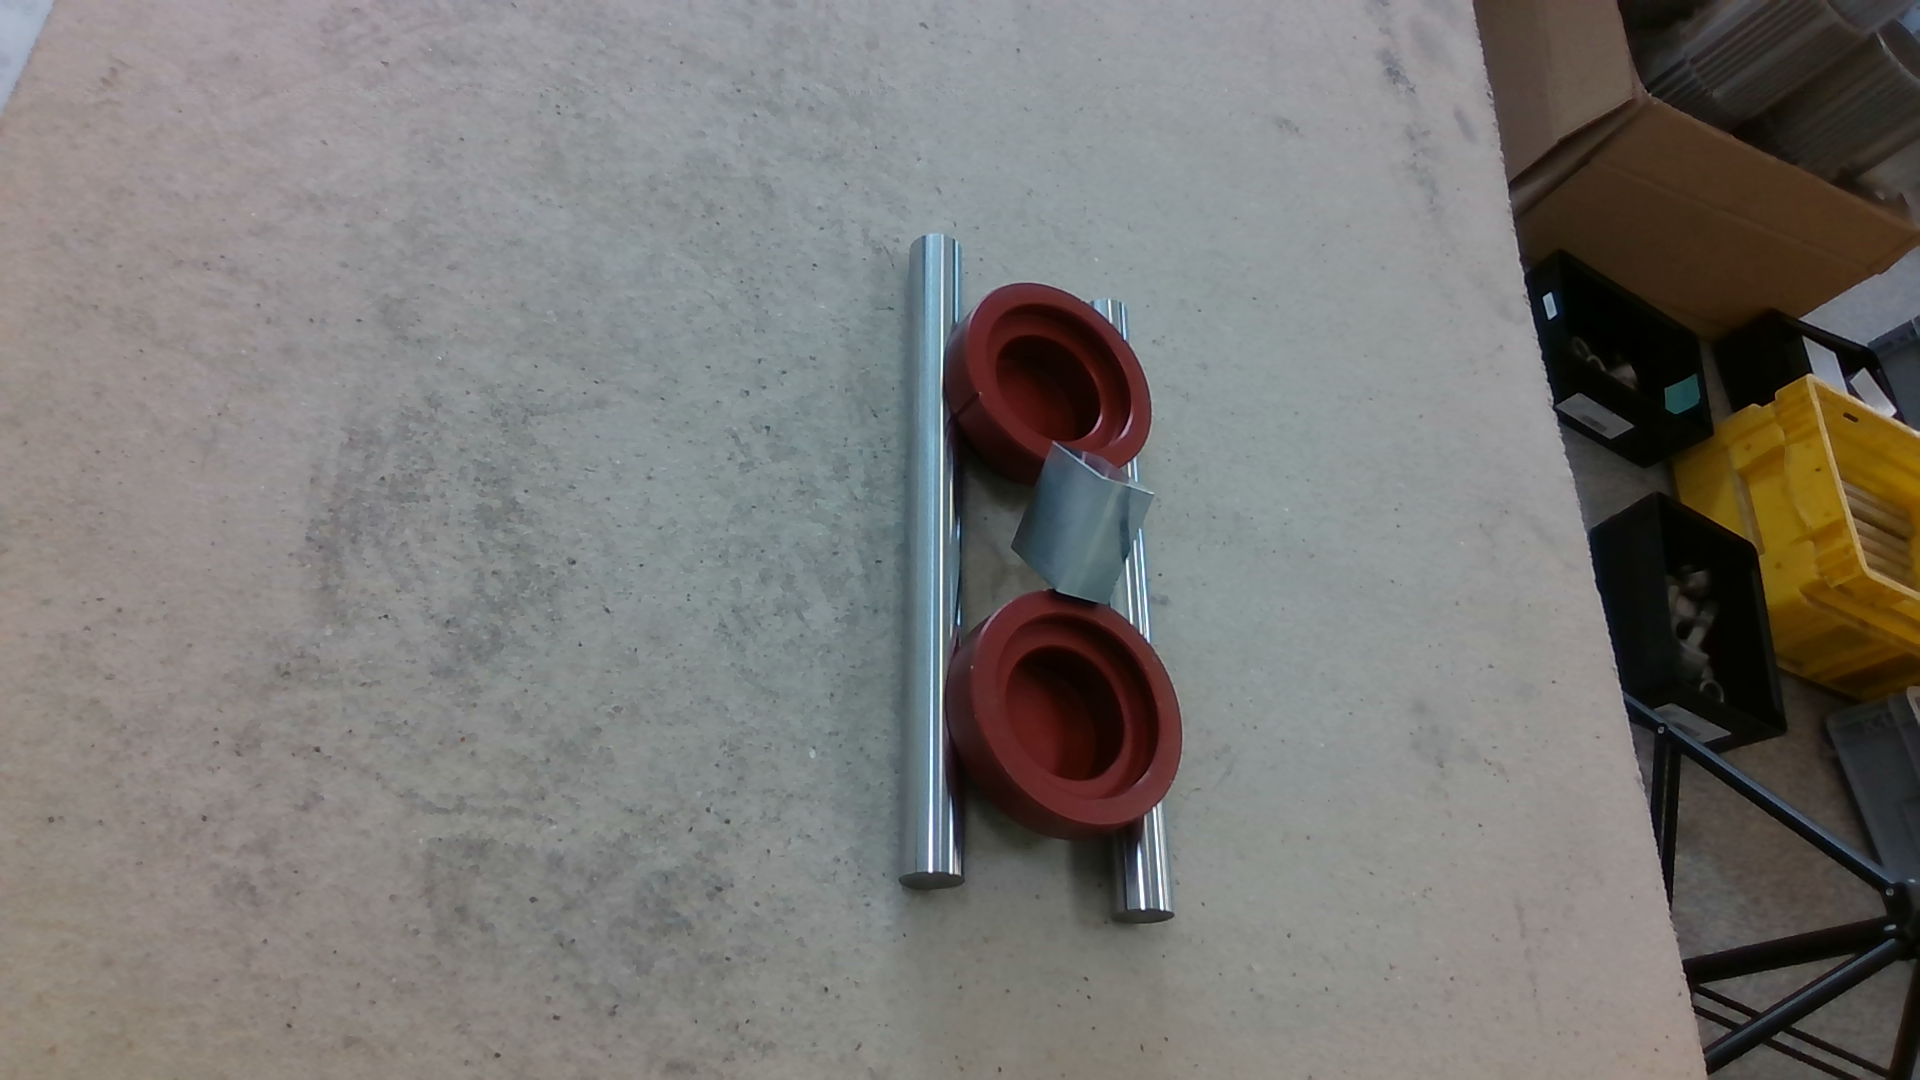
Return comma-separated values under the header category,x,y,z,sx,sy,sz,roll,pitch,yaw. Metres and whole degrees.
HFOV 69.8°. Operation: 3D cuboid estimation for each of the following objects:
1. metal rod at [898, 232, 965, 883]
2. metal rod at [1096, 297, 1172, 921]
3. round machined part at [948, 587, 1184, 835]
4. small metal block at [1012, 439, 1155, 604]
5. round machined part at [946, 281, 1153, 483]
category,x,y,z,sx,sy,sz,roll,pitch,yaw
metal rod,-0.011,-0.006,0.582,0.025,0.025,0.299,14,59,-25
metal rod,0.072,0.017,0.621,0.025,0.025,0.299,14,59,-25
round machined part,0.038,0.071,0.554,0.098,0.042,0.098,14,59,-25
small metal block,0.050,-0.008,0.572,0.025,0.050,0.050,15,15,-26
round machined part,0.036,-0.066,0.627,0.098,0.042,0.098,14,59,-25
